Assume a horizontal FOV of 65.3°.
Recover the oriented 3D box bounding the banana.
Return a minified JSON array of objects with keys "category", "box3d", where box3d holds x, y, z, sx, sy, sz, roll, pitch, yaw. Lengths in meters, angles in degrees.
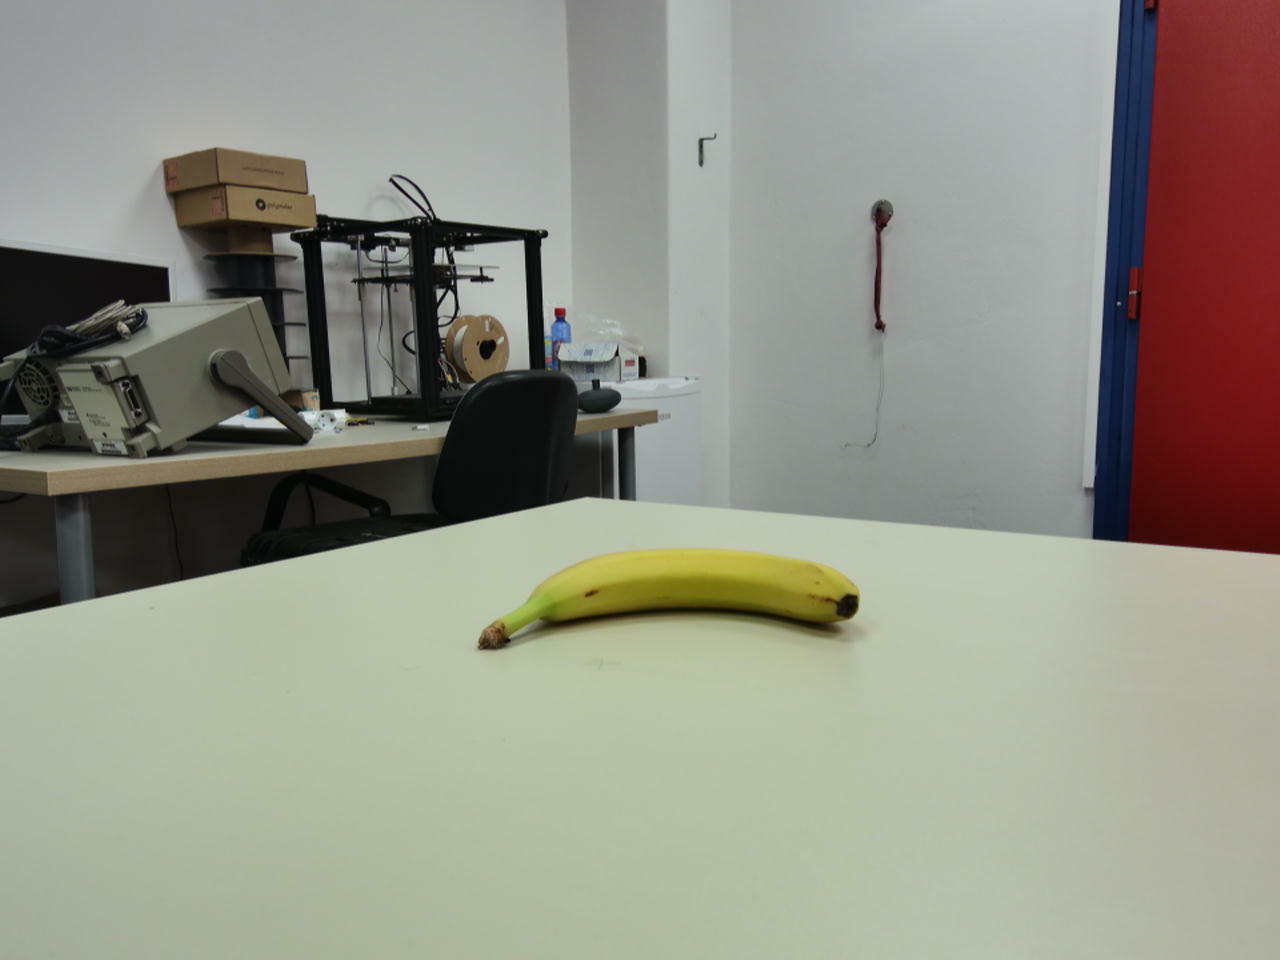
[{"category":"banana","box3d":[0.016,0.061,0.554,0.196,0.041,0.094,1,5,0]}]
